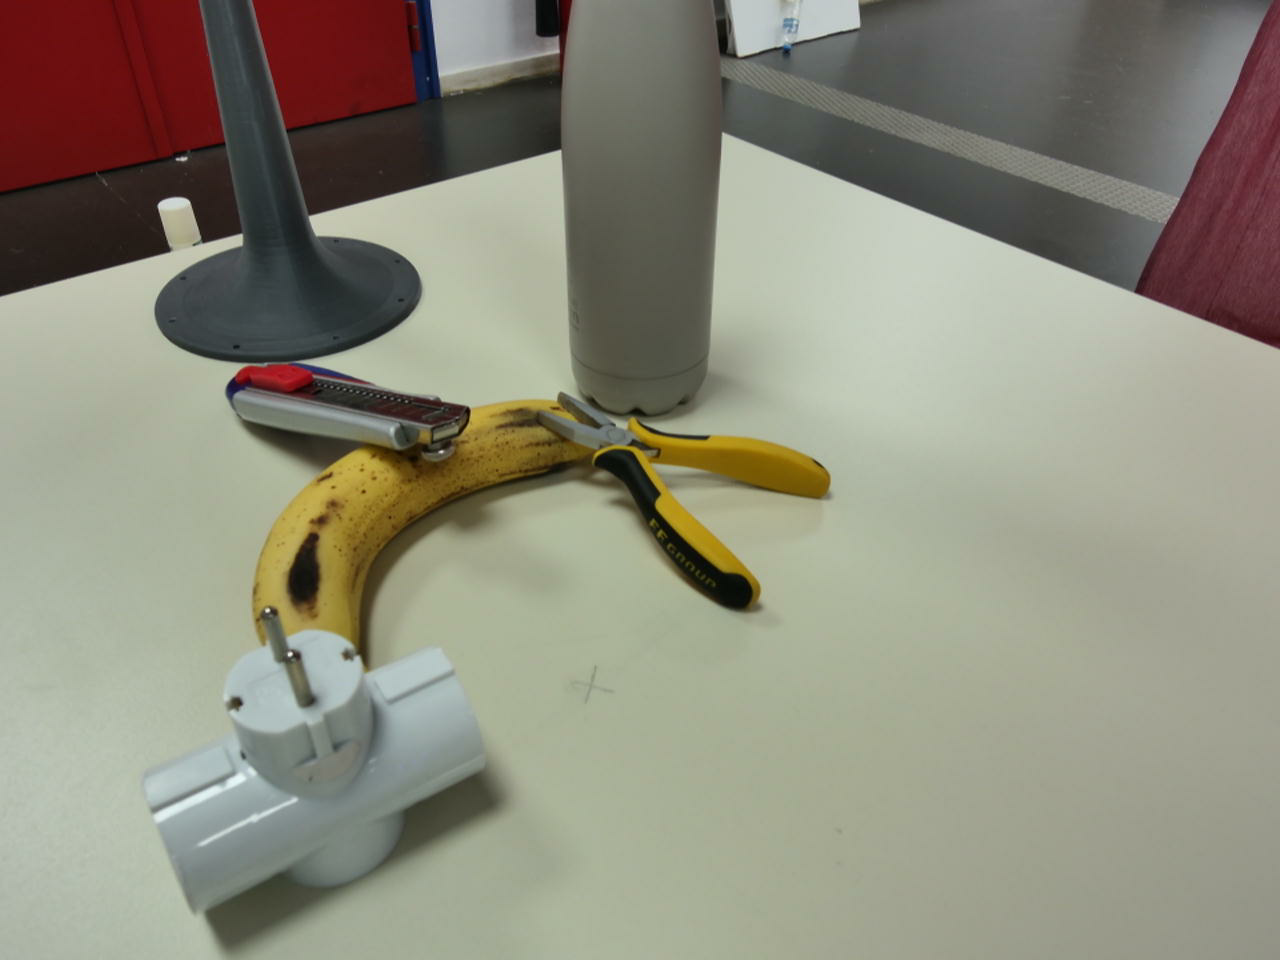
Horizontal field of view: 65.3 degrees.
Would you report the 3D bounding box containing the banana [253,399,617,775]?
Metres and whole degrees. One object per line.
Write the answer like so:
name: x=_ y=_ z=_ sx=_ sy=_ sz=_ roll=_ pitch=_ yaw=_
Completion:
banana: x=-0.088 y=0.016 z=0.408 sx=0.097 sy=0.038 sz=0.186 roll=14 pitch=38 yaw=17
